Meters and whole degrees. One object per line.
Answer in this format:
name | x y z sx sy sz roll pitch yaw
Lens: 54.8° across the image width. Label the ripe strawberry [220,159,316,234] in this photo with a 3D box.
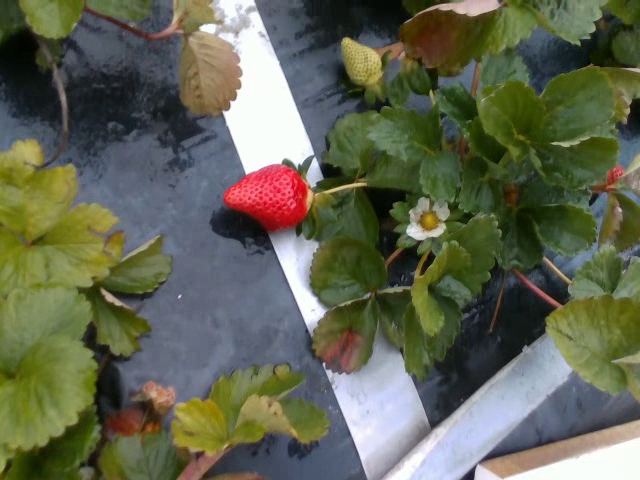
ripe strawberry | -0.030 -0.024 0.323 0.051 0.042 0.037 -4 16 -32
